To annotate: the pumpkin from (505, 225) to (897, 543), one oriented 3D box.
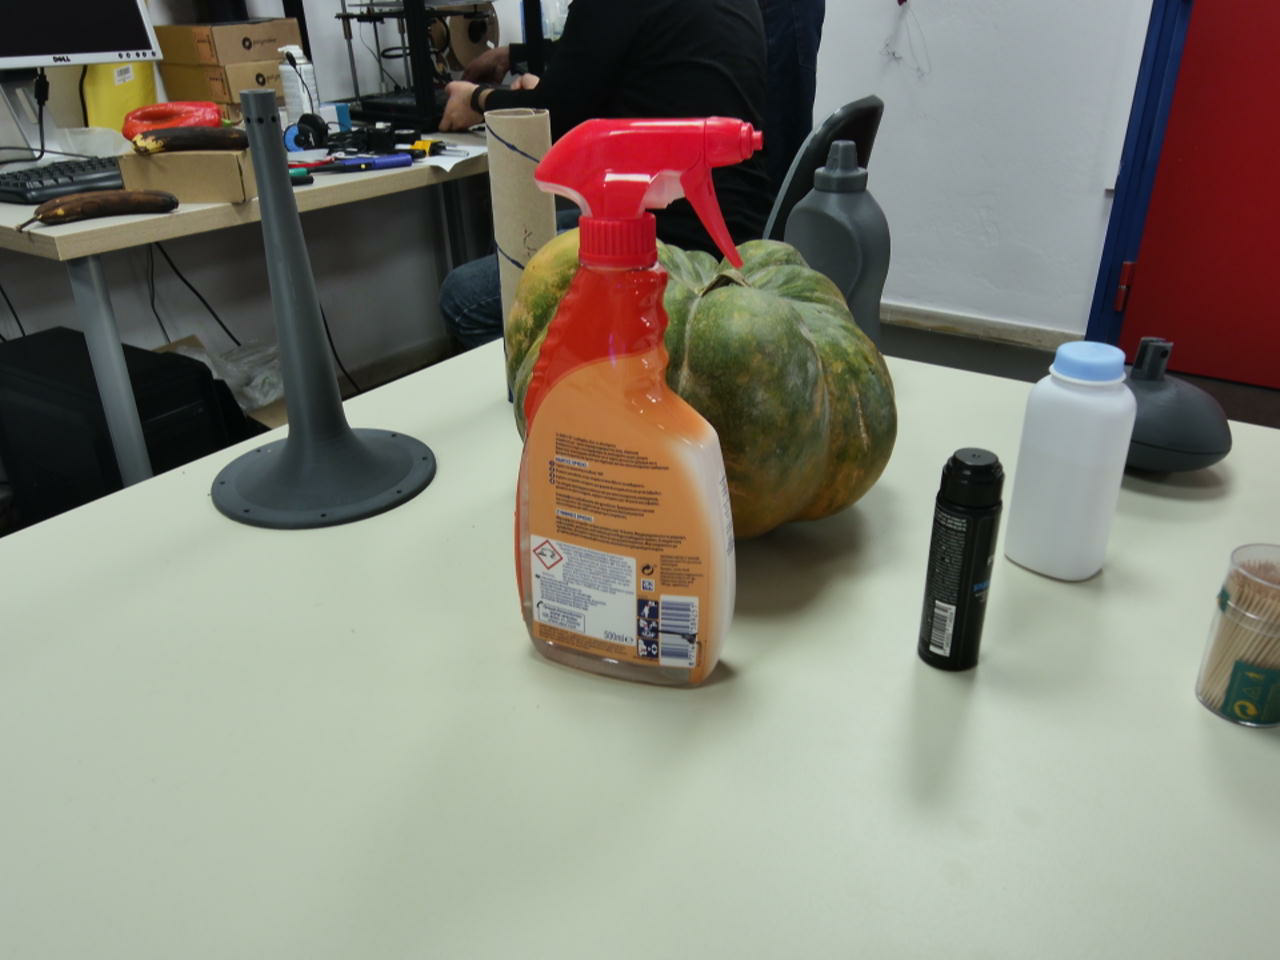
[{"bbox_3d":[0.038,-0.066,0.629,0.237,0.173,0.270,-7,26,-15],"label":"pumpkin"}]
